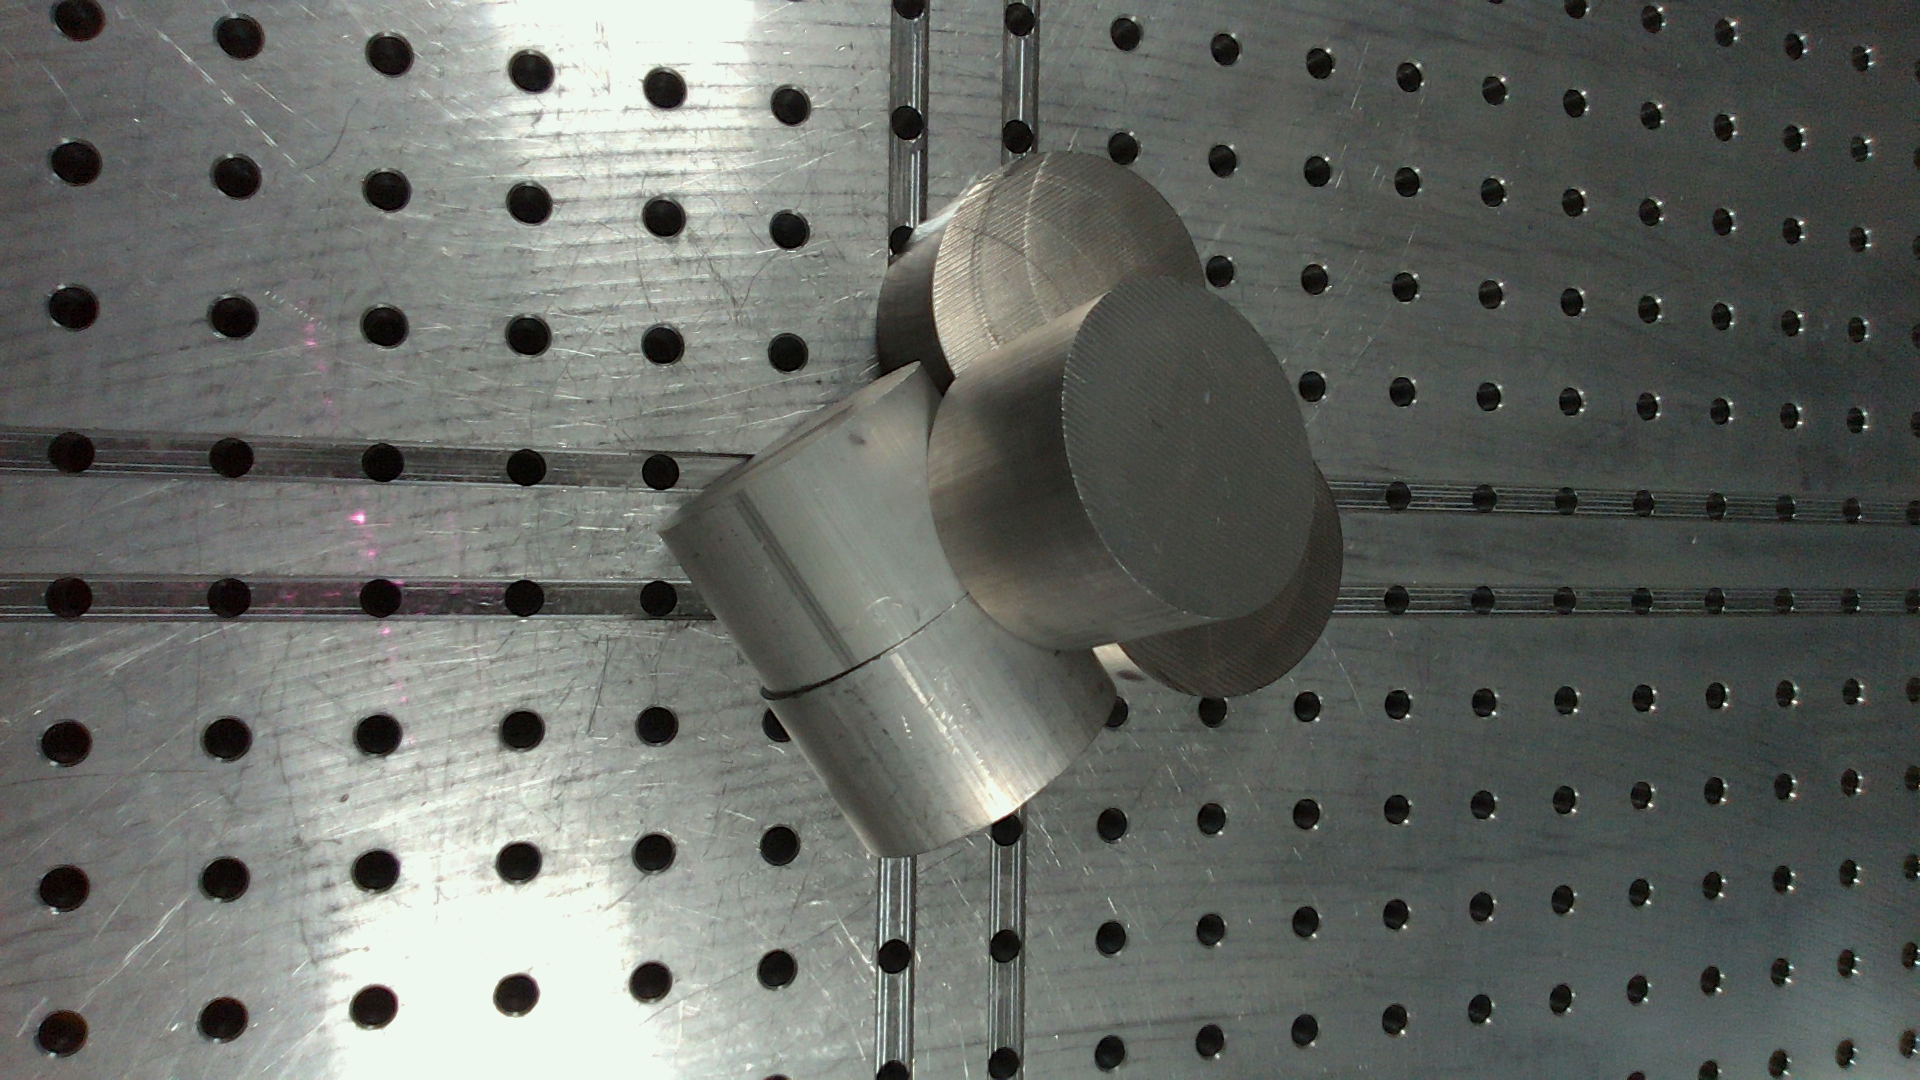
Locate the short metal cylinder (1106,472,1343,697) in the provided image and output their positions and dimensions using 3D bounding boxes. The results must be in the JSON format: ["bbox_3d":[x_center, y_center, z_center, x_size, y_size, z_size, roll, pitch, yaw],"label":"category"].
[{"bbox_3d":[0.064,0.004,0.405,0.080,0.050,0.080,0,90,-20],"label":"short metal cylinder"}]

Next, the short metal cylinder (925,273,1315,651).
[{"bbox_3d":[0.039,-0.017,0.328,0.080,0.050,0.080,11,72,-35],"label":"short metal cylinder"}]

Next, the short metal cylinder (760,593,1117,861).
[{"bbox_3d":[-0.005,0.039,0.365,0.080,0.080,0.050,-36,101,-16],"label":"short metal cylinder"}]

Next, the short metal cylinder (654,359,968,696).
[{"bbox_3d":[-0.031,-0.004,0.356,0.080,0.080,0.050,-36,101,-16],"label":"short metal cylinder"}]

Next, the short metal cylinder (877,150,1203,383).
[{"bbox_3d":[0.022,-0.064,0.390,0.080,0.050,0.080,0,90,-20],"label":"short metal cylinder"}]
